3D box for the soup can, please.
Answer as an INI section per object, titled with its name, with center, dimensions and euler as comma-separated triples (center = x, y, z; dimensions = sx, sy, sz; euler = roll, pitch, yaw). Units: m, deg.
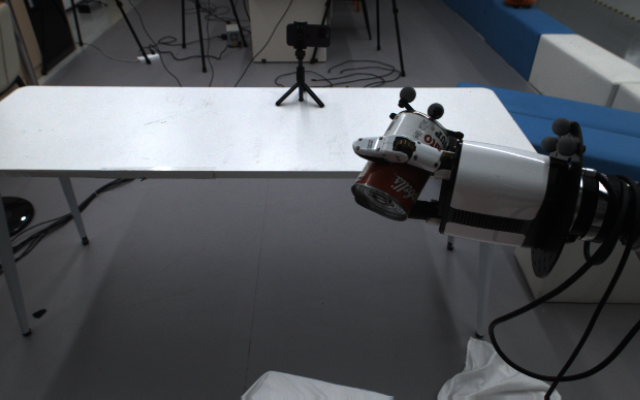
[soup can]
center = 0.090, -0.038, 0.523
dimensions = 0.067, 0.067, 0.101
euler = 23, 73, 28
